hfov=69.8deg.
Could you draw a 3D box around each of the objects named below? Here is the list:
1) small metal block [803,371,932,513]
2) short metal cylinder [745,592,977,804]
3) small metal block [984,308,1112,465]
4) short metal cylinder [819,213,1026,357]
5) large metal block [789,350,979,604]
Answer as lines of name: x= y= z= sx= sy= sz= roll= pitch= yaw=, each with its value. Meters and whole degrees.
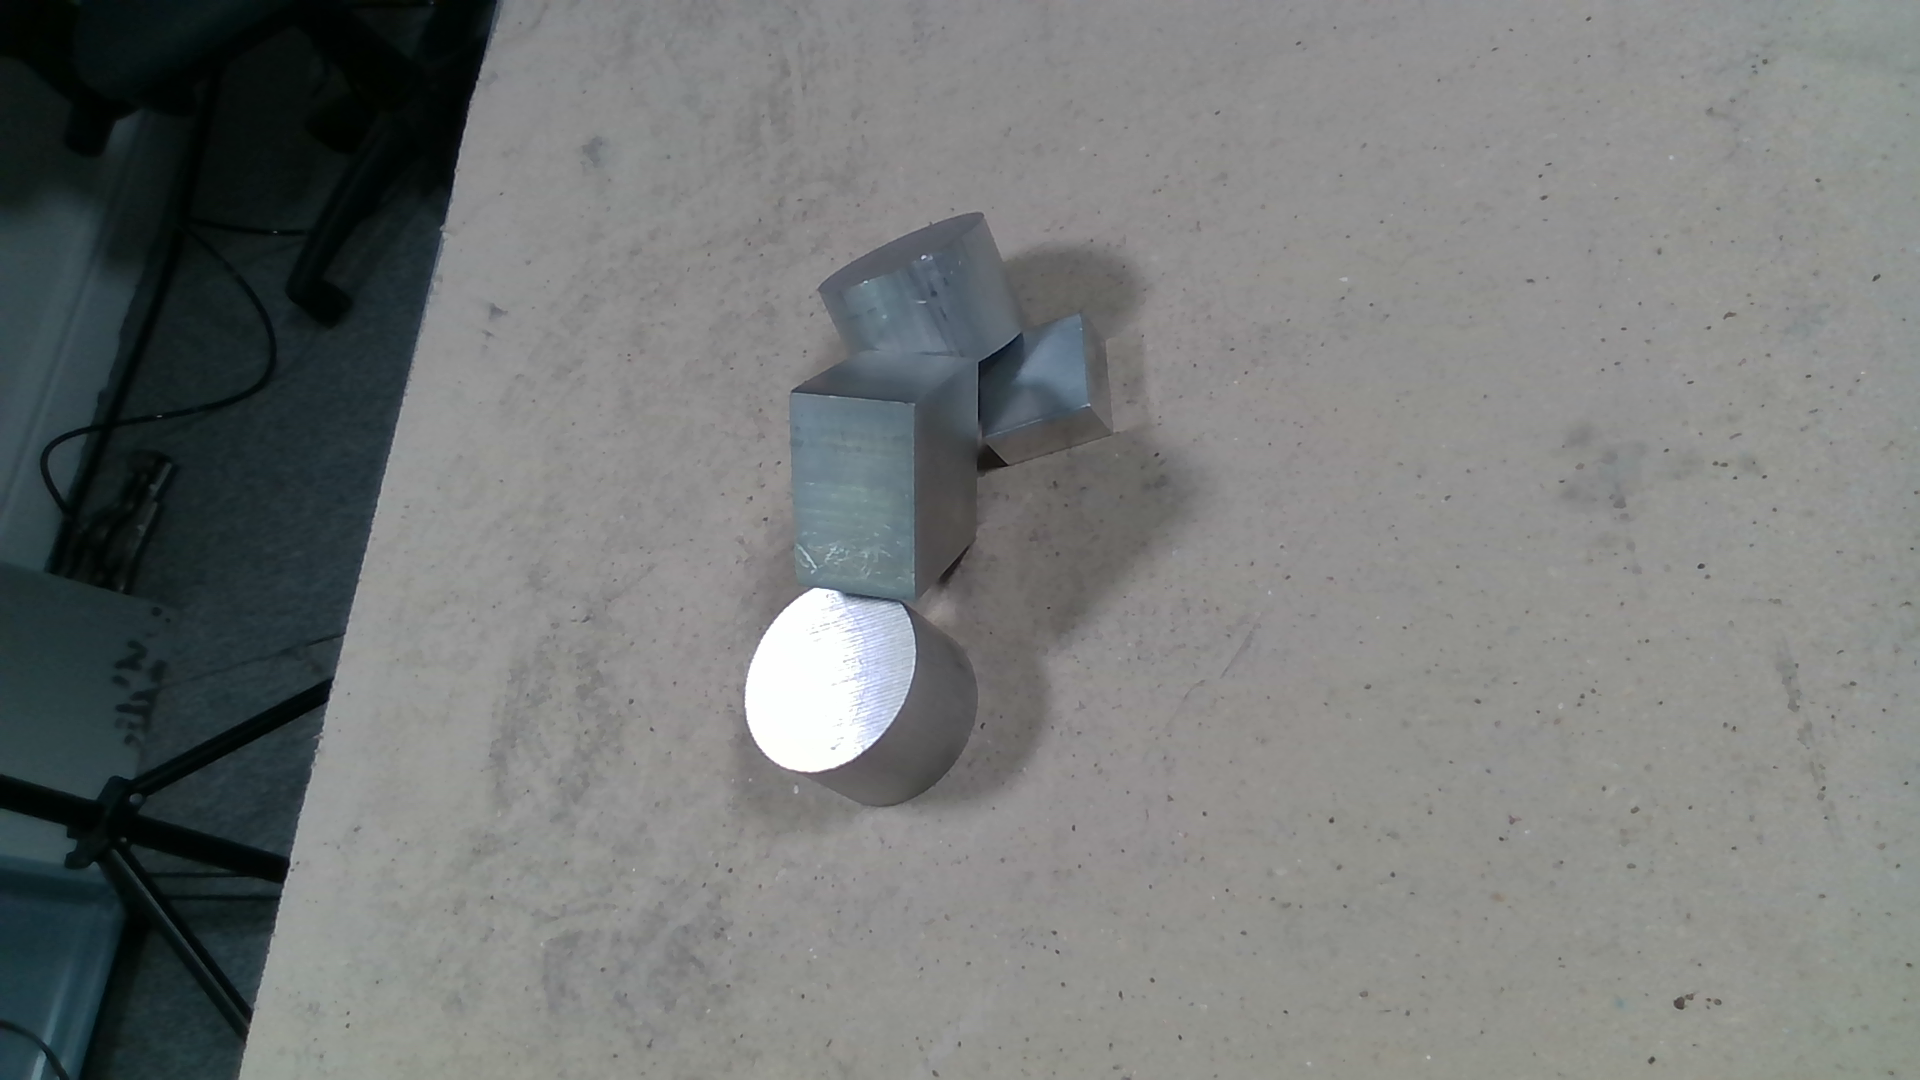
small metal block: x=-0.042 y=-0.045 z=0.635 sx=0.050 sy=0.025 sz=0.050 roll=-12 pitch=60 yaw=26
short metal cylinder: x=-0.040 y=0.062 z=0.561 sx=0.080 sy=0.050 sz=0.080 roll=-14 pitch=59 yaw=25
small metal block: x=0.036 y=-0.066 z=0.598 sx=0.050 sy=0.025 sz=0.050 roll=-16 pitch=58 yaw=24
short metal cylinder: x=-0.016 y=-0.106 z=0.612 sx=0.080 sy=0.050 sz=0.080 roll=-22 pitch=21 yaw=9
large metal block: x=-0.028 y=-0.029 z=0.559 sx=0.050 sy=0.080 sz=0.080 roll=7 pitch=112 yaw=17
